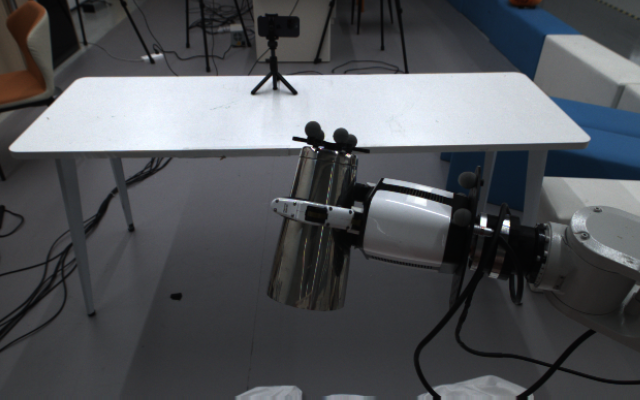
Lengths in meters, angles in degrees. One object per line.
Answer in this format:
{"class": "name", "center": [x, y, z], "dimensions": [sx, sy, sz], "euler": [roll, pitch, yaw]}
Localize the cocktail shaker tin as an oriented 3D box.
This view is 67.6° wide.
{"class": "cocktail shaker tin", "center": [-0.001, 0.030, 0.554], "dimensions": [0.093, 0.170, 0.093], "euler": [10, 3, -1]}
